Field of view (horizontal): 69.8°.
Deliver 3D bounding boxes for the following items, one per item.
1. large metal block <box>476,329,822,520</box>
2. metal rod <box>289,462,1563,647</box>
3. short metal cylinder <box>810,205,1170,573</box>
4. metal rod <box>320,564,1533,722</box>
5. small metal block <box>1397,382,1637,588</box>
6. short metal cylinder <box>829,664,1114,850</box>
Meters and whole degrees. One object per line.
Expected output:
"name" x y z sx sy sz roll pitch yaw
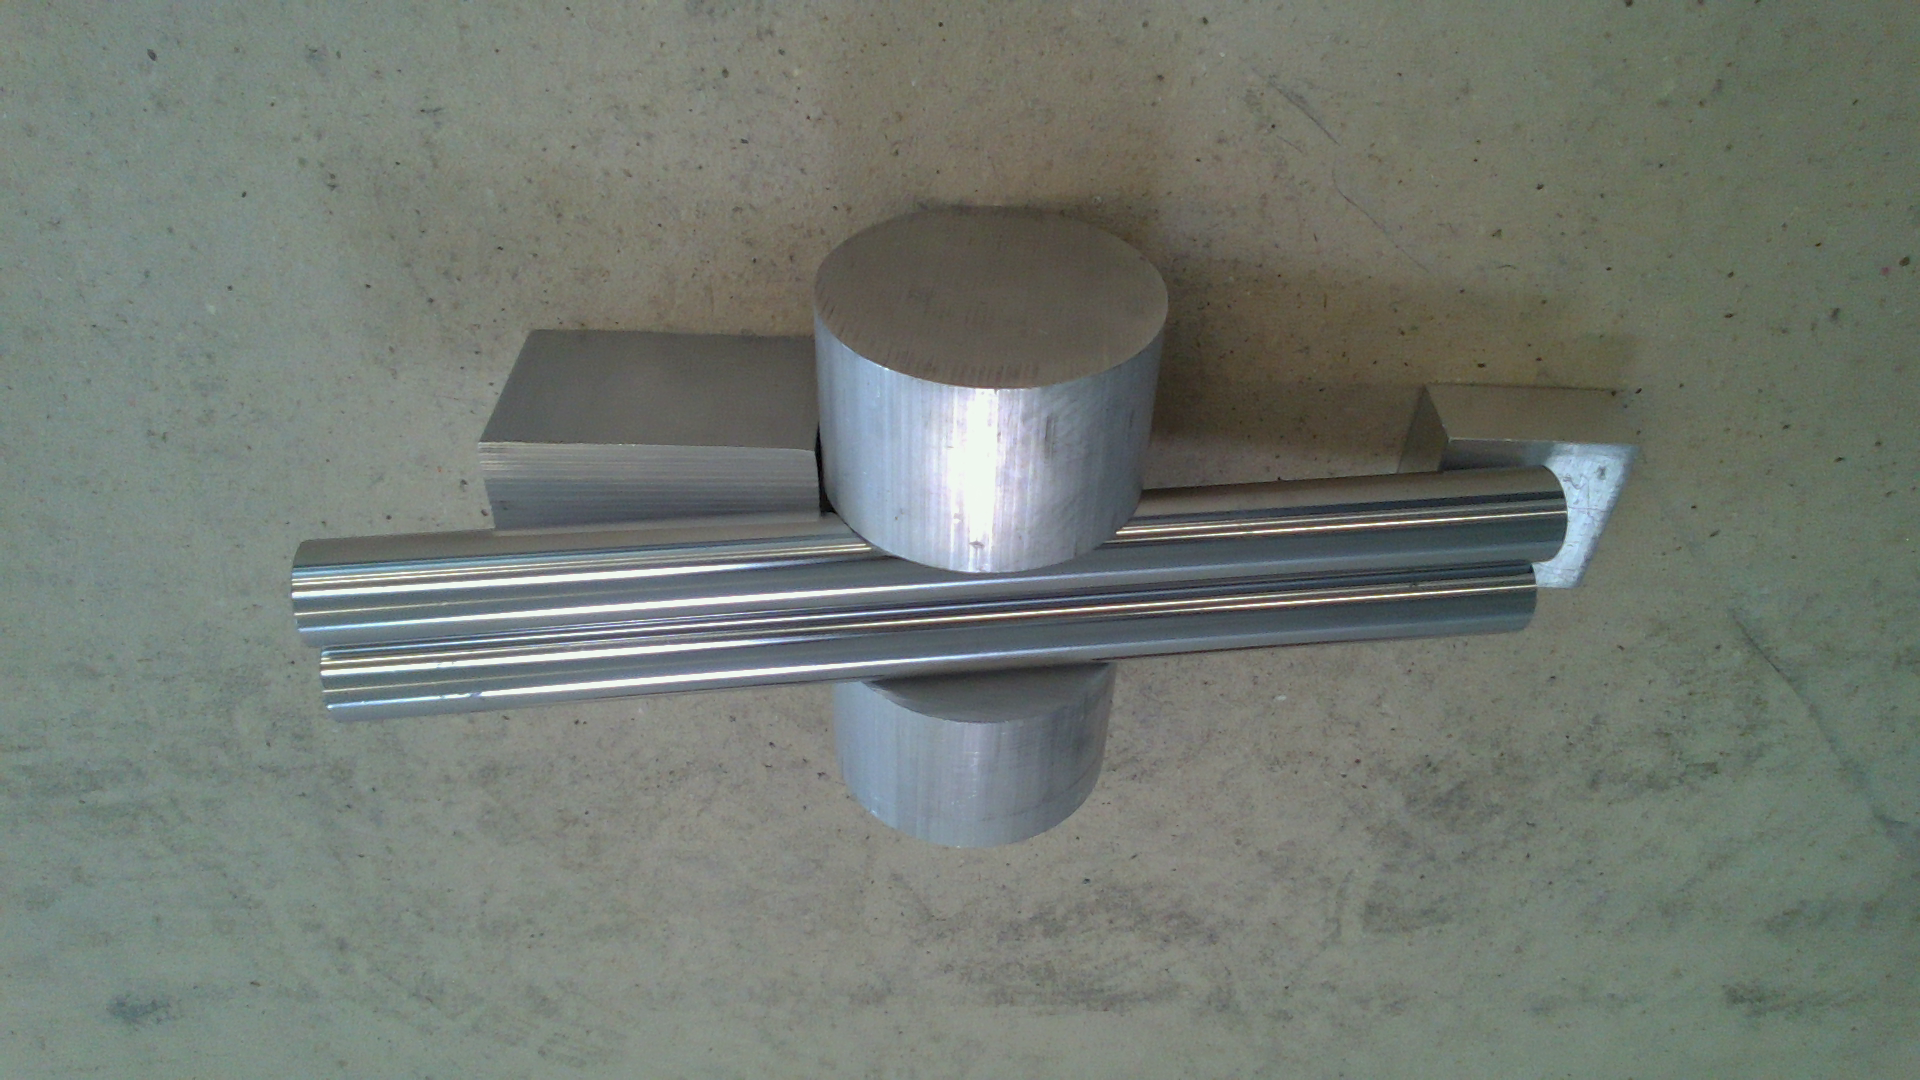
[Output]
"large metal block" -0.074 -0.008 0.368 0.080 0.050 0.080 1 130 -1
"metal rod" -0.001 0.002 0.334 0.300 0.025 0.025 -4 131 -7
"short metal cylinder" 0.006 -0.037 0.323 0.080 0.080 0.050 1 130 -1
"metal rod" -0.001 0.021 0.350 0.300 0.025 0.025 -4 131 -7
"small metal block" 0.149 -0.015 0.380 0.050 0.025 0.050 2 130 -2
"short metal cylinder" 0.003 0.039 0.388 0.080 0.080 0.050 1 130 -1
